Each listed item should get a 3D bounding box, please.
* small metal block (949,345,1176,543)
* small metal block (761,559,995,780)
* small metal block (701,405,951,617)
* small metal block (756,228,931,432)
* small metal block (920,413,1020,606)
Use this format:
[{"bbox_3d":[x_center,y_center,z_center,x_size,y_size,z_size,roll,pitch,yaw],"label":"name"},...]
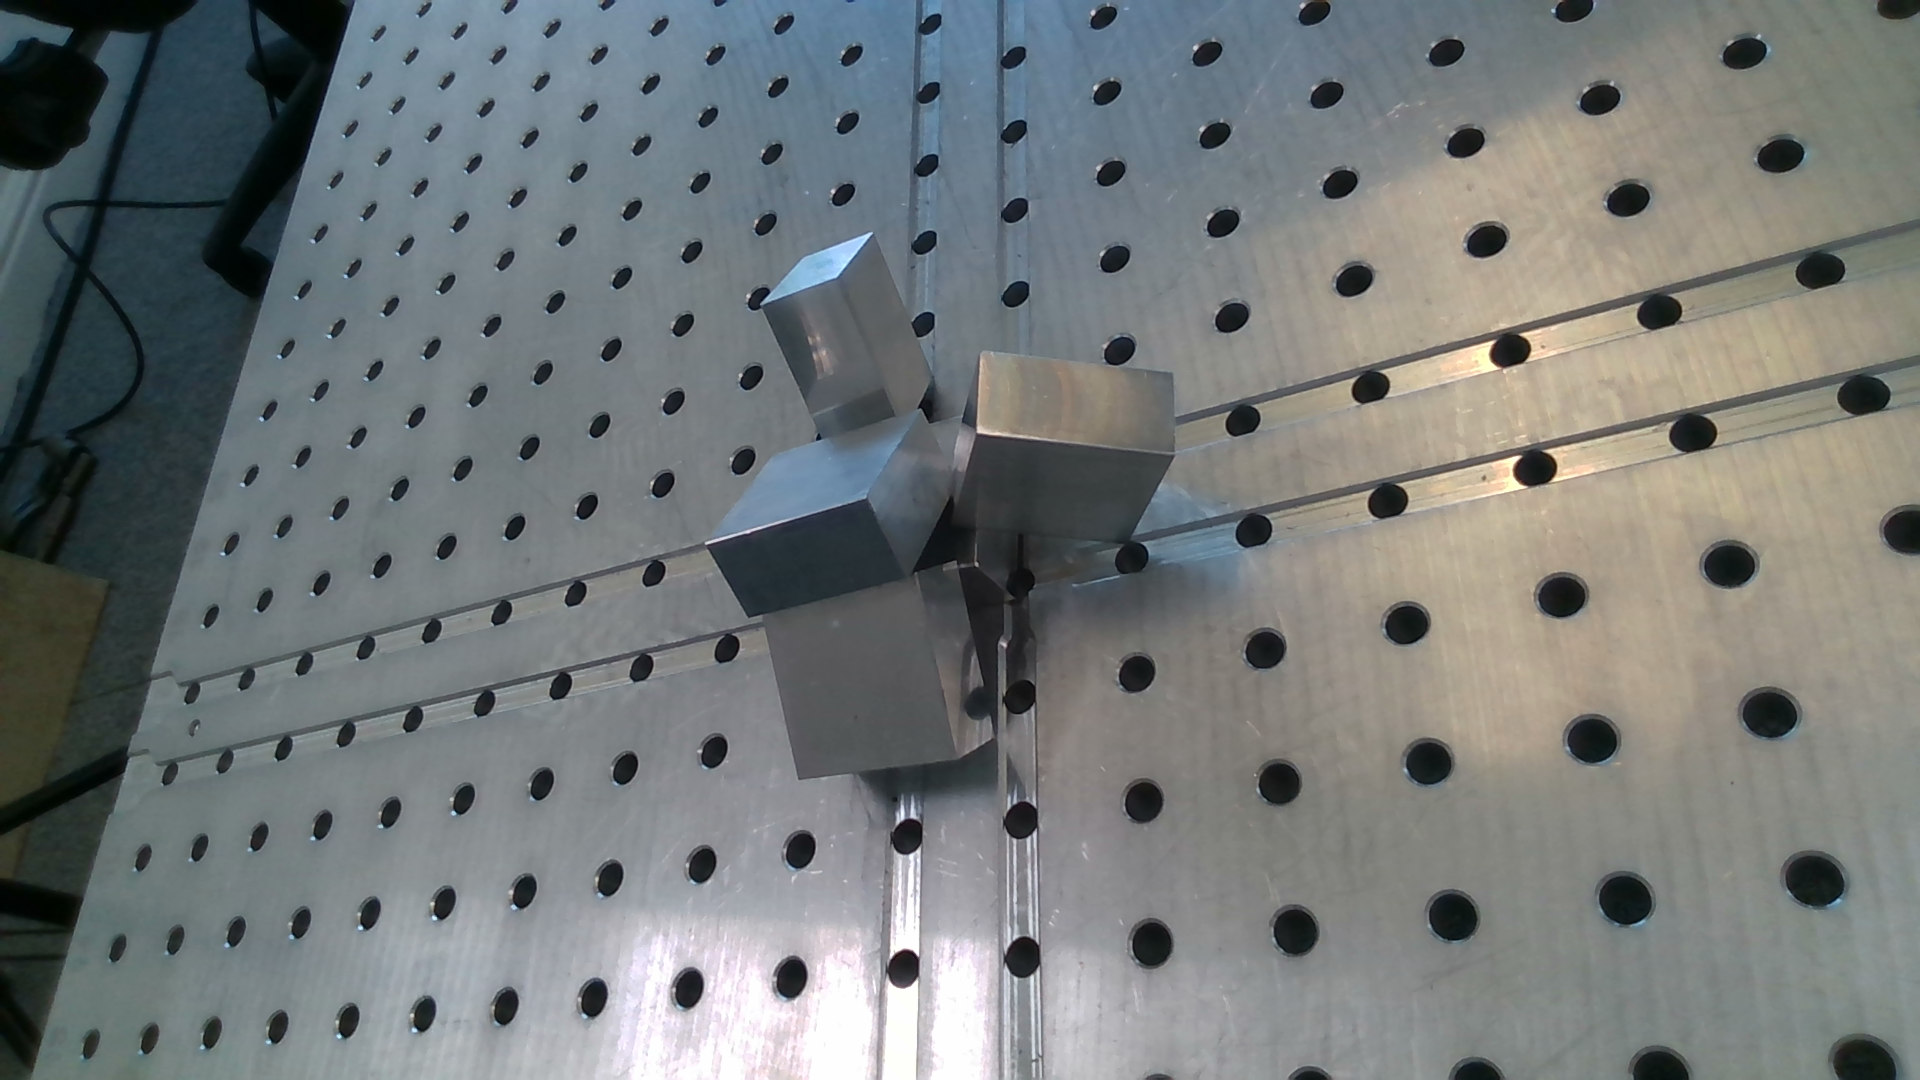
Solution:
[{"bbox_3d":[0.026,-0.024,0.363,0.050,0.050,0.025,6,63,-5],"label":"small metal block"},{"bbox_3d":[-0.023,0.035,0.377,0.050,0.025,0.050,-12,91,26],"label":"small metal block"},{"bbox_3d":[-0.034,-0.008,0.374,0.050,0.025,0.050,-15,26,24],"label":"small metal block"},{"bbox_3d":[-0.033,-0.061,0.420,0.025,0.050,0.050,-16,23,17],"label":"small metal block"},{"bbox_3d":[-0.010,-0.006,0.406,0.050,0.025,0.050,-12,60,26],"label":"small metal block"}]
